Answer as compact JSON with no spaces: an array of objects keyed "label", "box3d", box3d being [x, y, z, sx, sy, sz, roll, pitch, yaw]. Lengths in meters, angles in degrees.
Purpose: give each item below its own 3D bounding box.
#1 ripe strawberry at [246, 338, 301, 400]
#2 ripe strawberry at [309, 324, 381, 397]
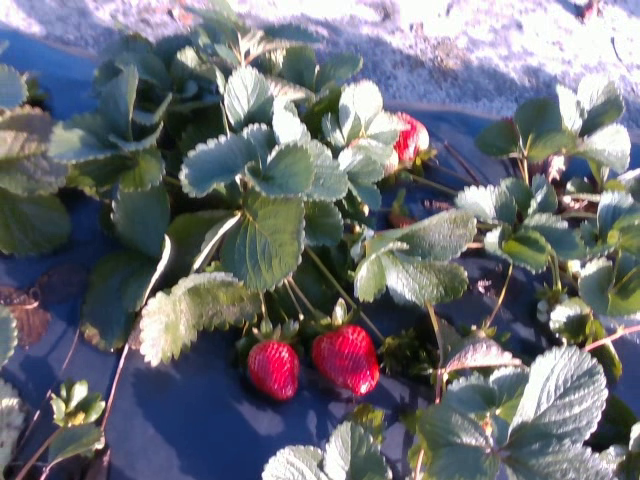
[{"label":"ripe strawberry","box3d":[-0.030,0.091,0.410,0.043,0.052,0.037,-37,-38,-1]},{"label":"ripe strawberry","box3d":[0.023,0.087,0.426,0.052,0.058,0.046,-28,-40,-3]}]
